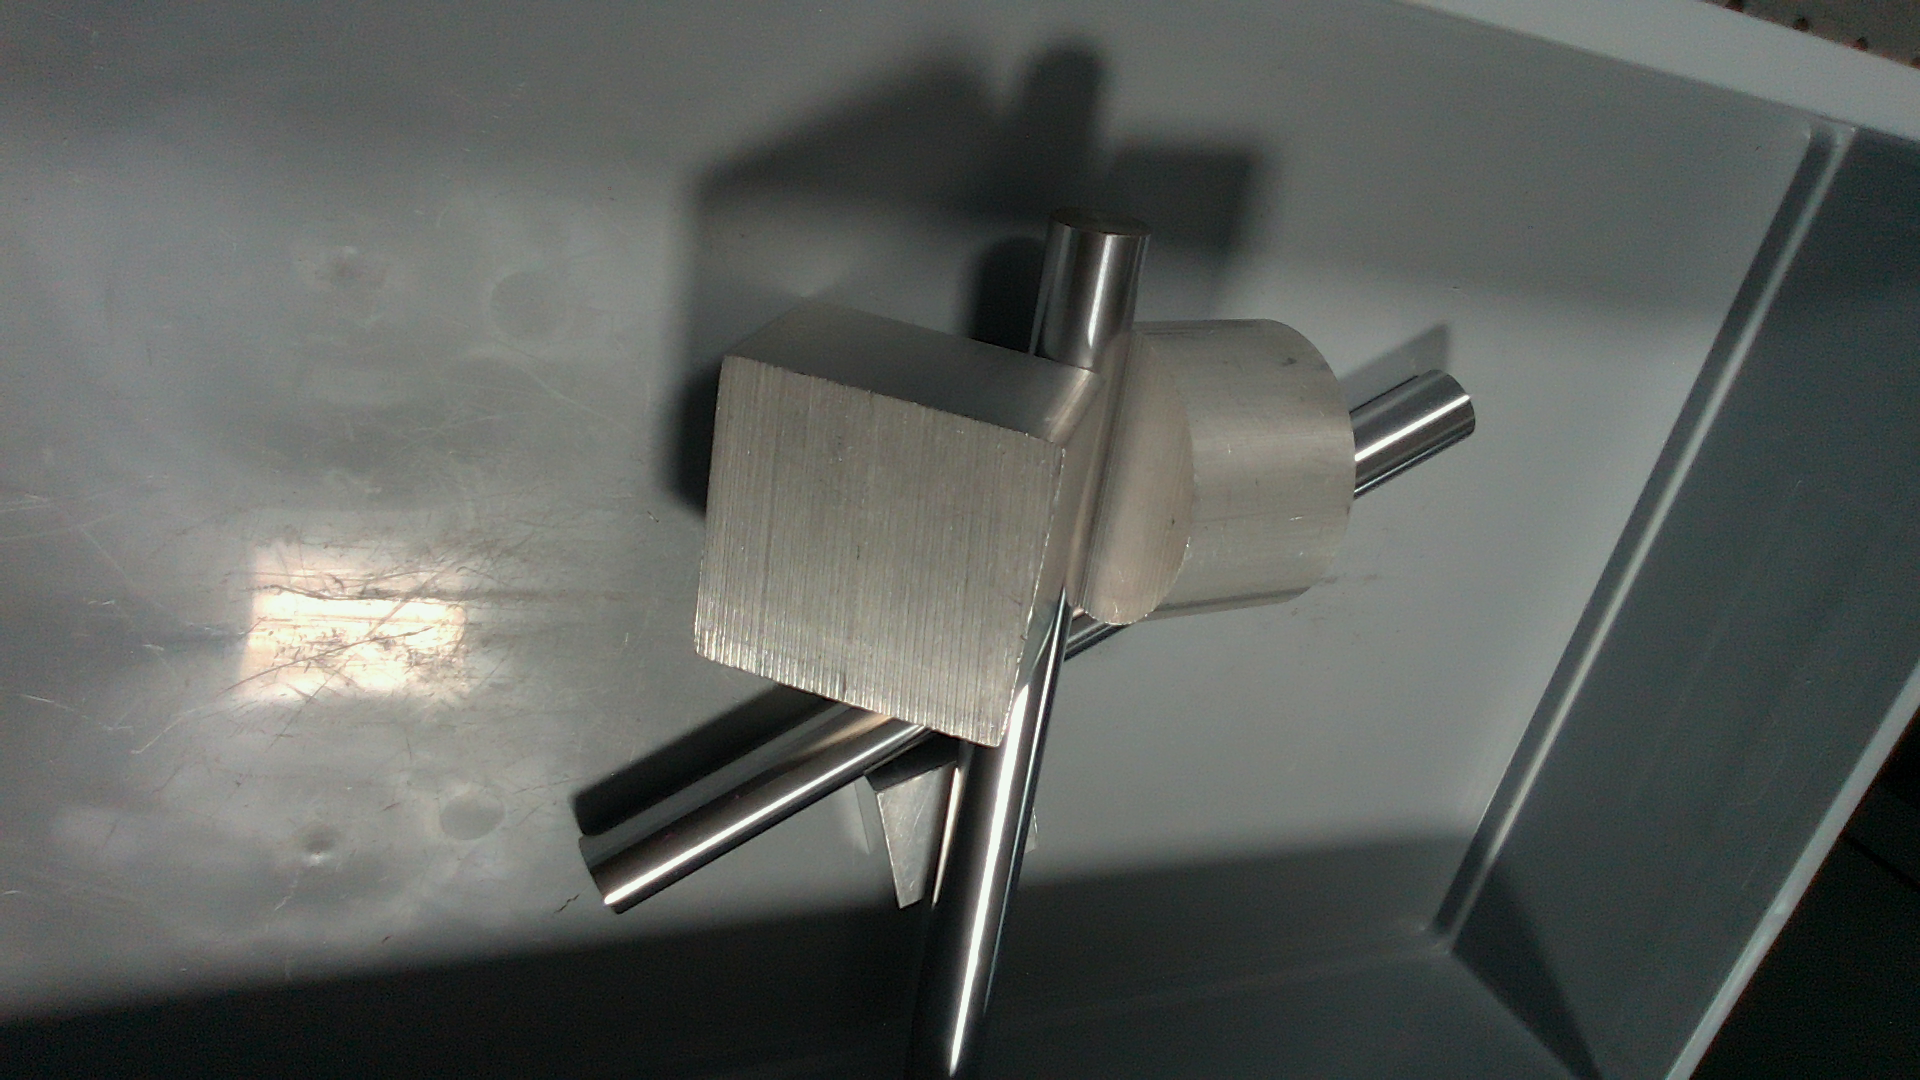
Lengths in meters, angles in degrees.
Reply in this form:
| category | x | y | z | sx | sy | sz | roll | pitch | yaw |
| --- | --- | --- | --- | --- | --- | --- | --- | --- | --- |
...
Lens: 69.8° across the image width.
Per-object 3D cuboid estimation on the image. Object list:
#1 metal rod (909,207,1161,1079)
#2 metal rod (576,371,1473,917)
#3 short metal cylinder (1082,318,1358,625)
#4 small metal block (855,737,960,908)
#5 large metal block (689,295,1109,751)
| category | x | y | z | sx | sy | sz | roll | pitch | yaw |
| --- | --- | --- | --- | --- | --- | --- | --- | --- | --- |
| metal rod | 0.015 | 0.056 | 0.397 | 0.025 | 0.025 | 0.300 | -5 | 119 | -26 |
| metal rod | 0.027 | 0.026 | 0.418 | 0.300 | 0.025 | 0.025 | -28 | 128 | -11 |
| short metal cylinder | 0.060 | -0.019 | 0.372 | 0.050 | 0.080 | 0.080 | -5 | 121 | -27 |
| small metal block | -0.005 | 0.081 | 0.435 | 0.050 | 0.025 | 0.050 | -20 | 126 | -17 |
| large metal block | -0.015 | -0.006 | 0.335 | 0.080 | 0.050 | 0.080 | 16 | 117 | 9 |
